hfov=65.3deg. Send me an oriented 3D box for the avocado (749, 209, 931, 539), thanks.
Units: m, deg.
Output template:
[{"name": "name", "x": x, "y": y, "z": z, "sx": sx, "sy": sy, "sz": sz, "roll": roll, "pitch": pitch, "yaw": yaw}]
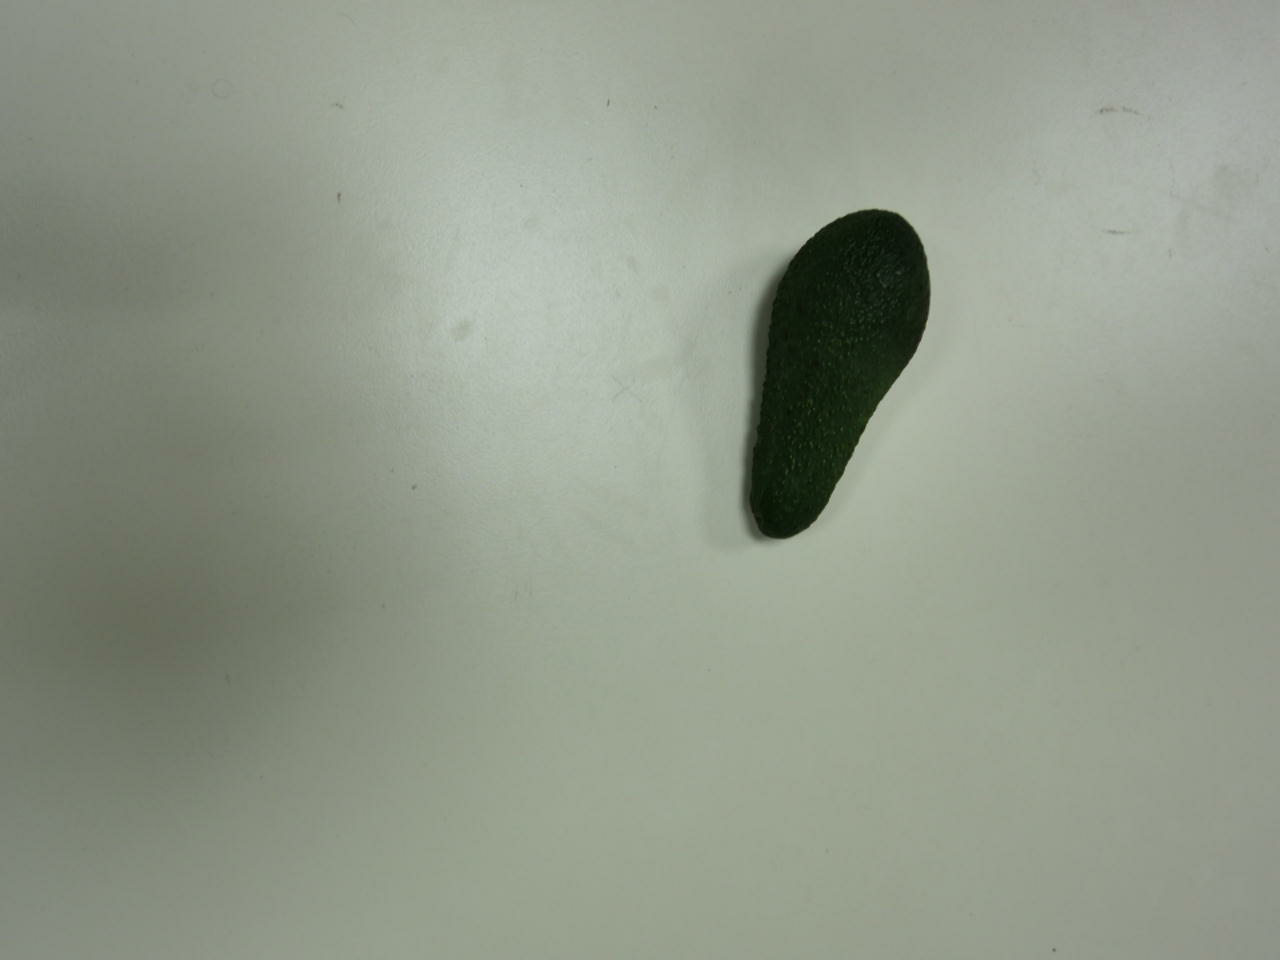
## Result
[{"name": "avocado", "x": 0.085, "y": -0.042, "z": 0.415, "sx": 0.063, "sy": 0.067, "sz": 0.141, "roll": 6, "pitch": 90, "yaw": -11}]
